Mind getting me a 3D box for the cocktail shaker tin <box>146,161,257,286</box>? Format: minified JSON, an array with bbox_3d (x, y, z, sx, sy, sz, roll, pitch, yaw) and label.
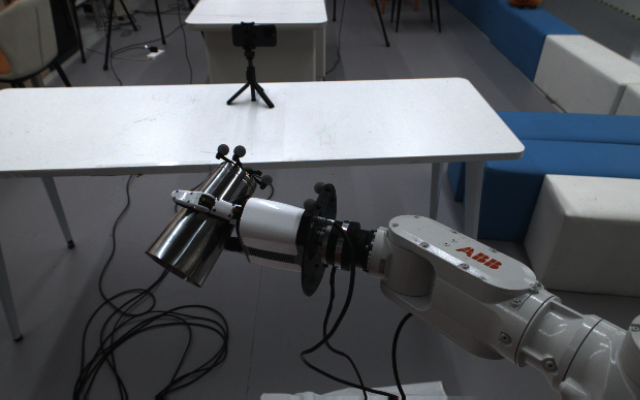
[{"bbox_3d":[-0.163,0.027,0.703,0.093,0.093,0.170,20,67,24],"label":"cocktail shaker tin"}]
